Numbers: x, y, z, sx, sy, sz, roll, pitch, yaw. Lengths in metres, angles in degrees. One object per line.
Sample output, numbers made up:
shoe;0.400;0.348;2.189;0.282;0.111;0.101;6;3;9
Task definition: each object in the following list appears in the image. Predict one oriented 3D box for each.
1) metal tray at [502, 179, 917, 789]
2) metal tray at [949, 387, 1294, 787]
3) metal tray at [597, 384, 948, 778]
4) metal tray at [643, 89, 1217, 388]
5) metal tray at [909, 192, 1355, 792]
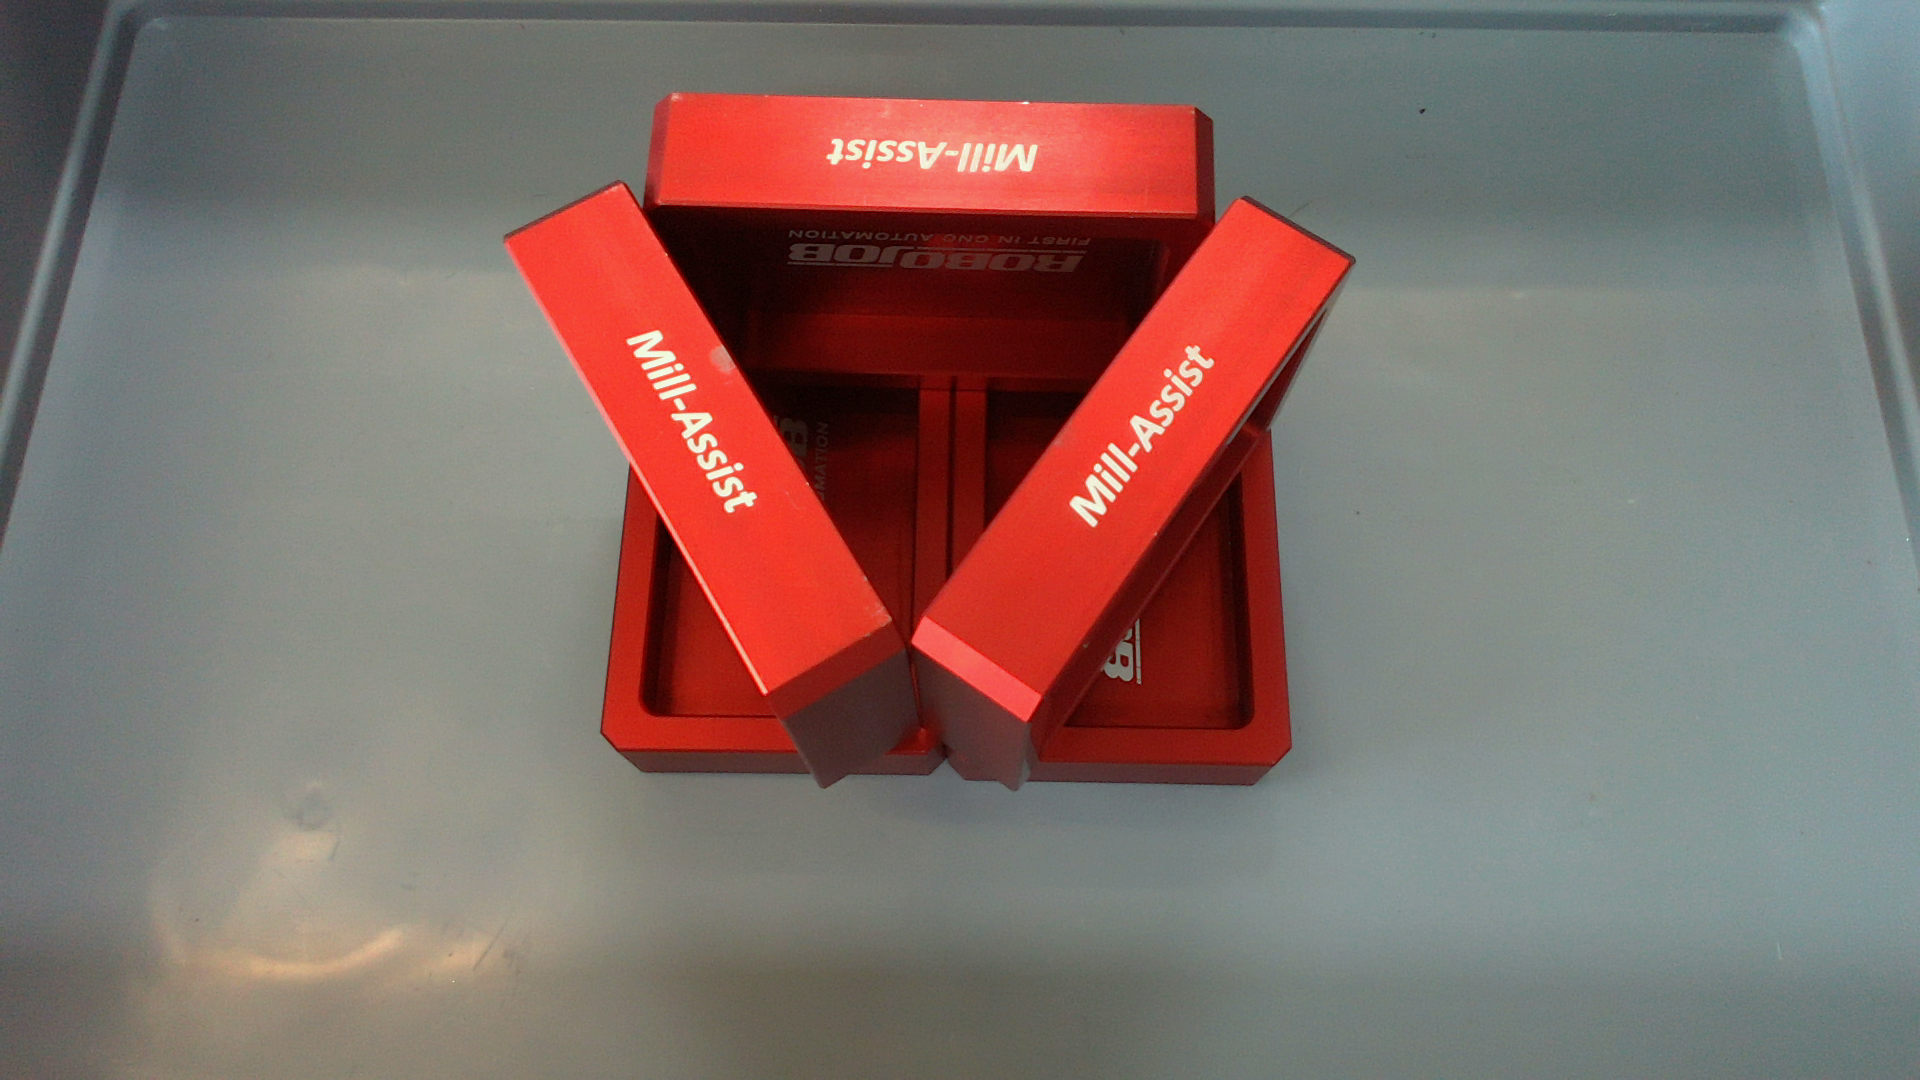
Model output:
metal tray;-0.057;-0.010;0.330;0.030;0.090;0.130;-30;73;-10
metal tray;0.043;0.002;0.391;0.090;0.030;0.130;1;69;1
metal tray;-0.049;0.000;0.392;0.090;0.030;0.130;0;69;0
metal tray;-0.006;-0.073;0.352;0.130;0.090;0.030;2;70;1
metal tray;0.039;-0.008;0.329;0.030;0.090;0.130;33;74;12
